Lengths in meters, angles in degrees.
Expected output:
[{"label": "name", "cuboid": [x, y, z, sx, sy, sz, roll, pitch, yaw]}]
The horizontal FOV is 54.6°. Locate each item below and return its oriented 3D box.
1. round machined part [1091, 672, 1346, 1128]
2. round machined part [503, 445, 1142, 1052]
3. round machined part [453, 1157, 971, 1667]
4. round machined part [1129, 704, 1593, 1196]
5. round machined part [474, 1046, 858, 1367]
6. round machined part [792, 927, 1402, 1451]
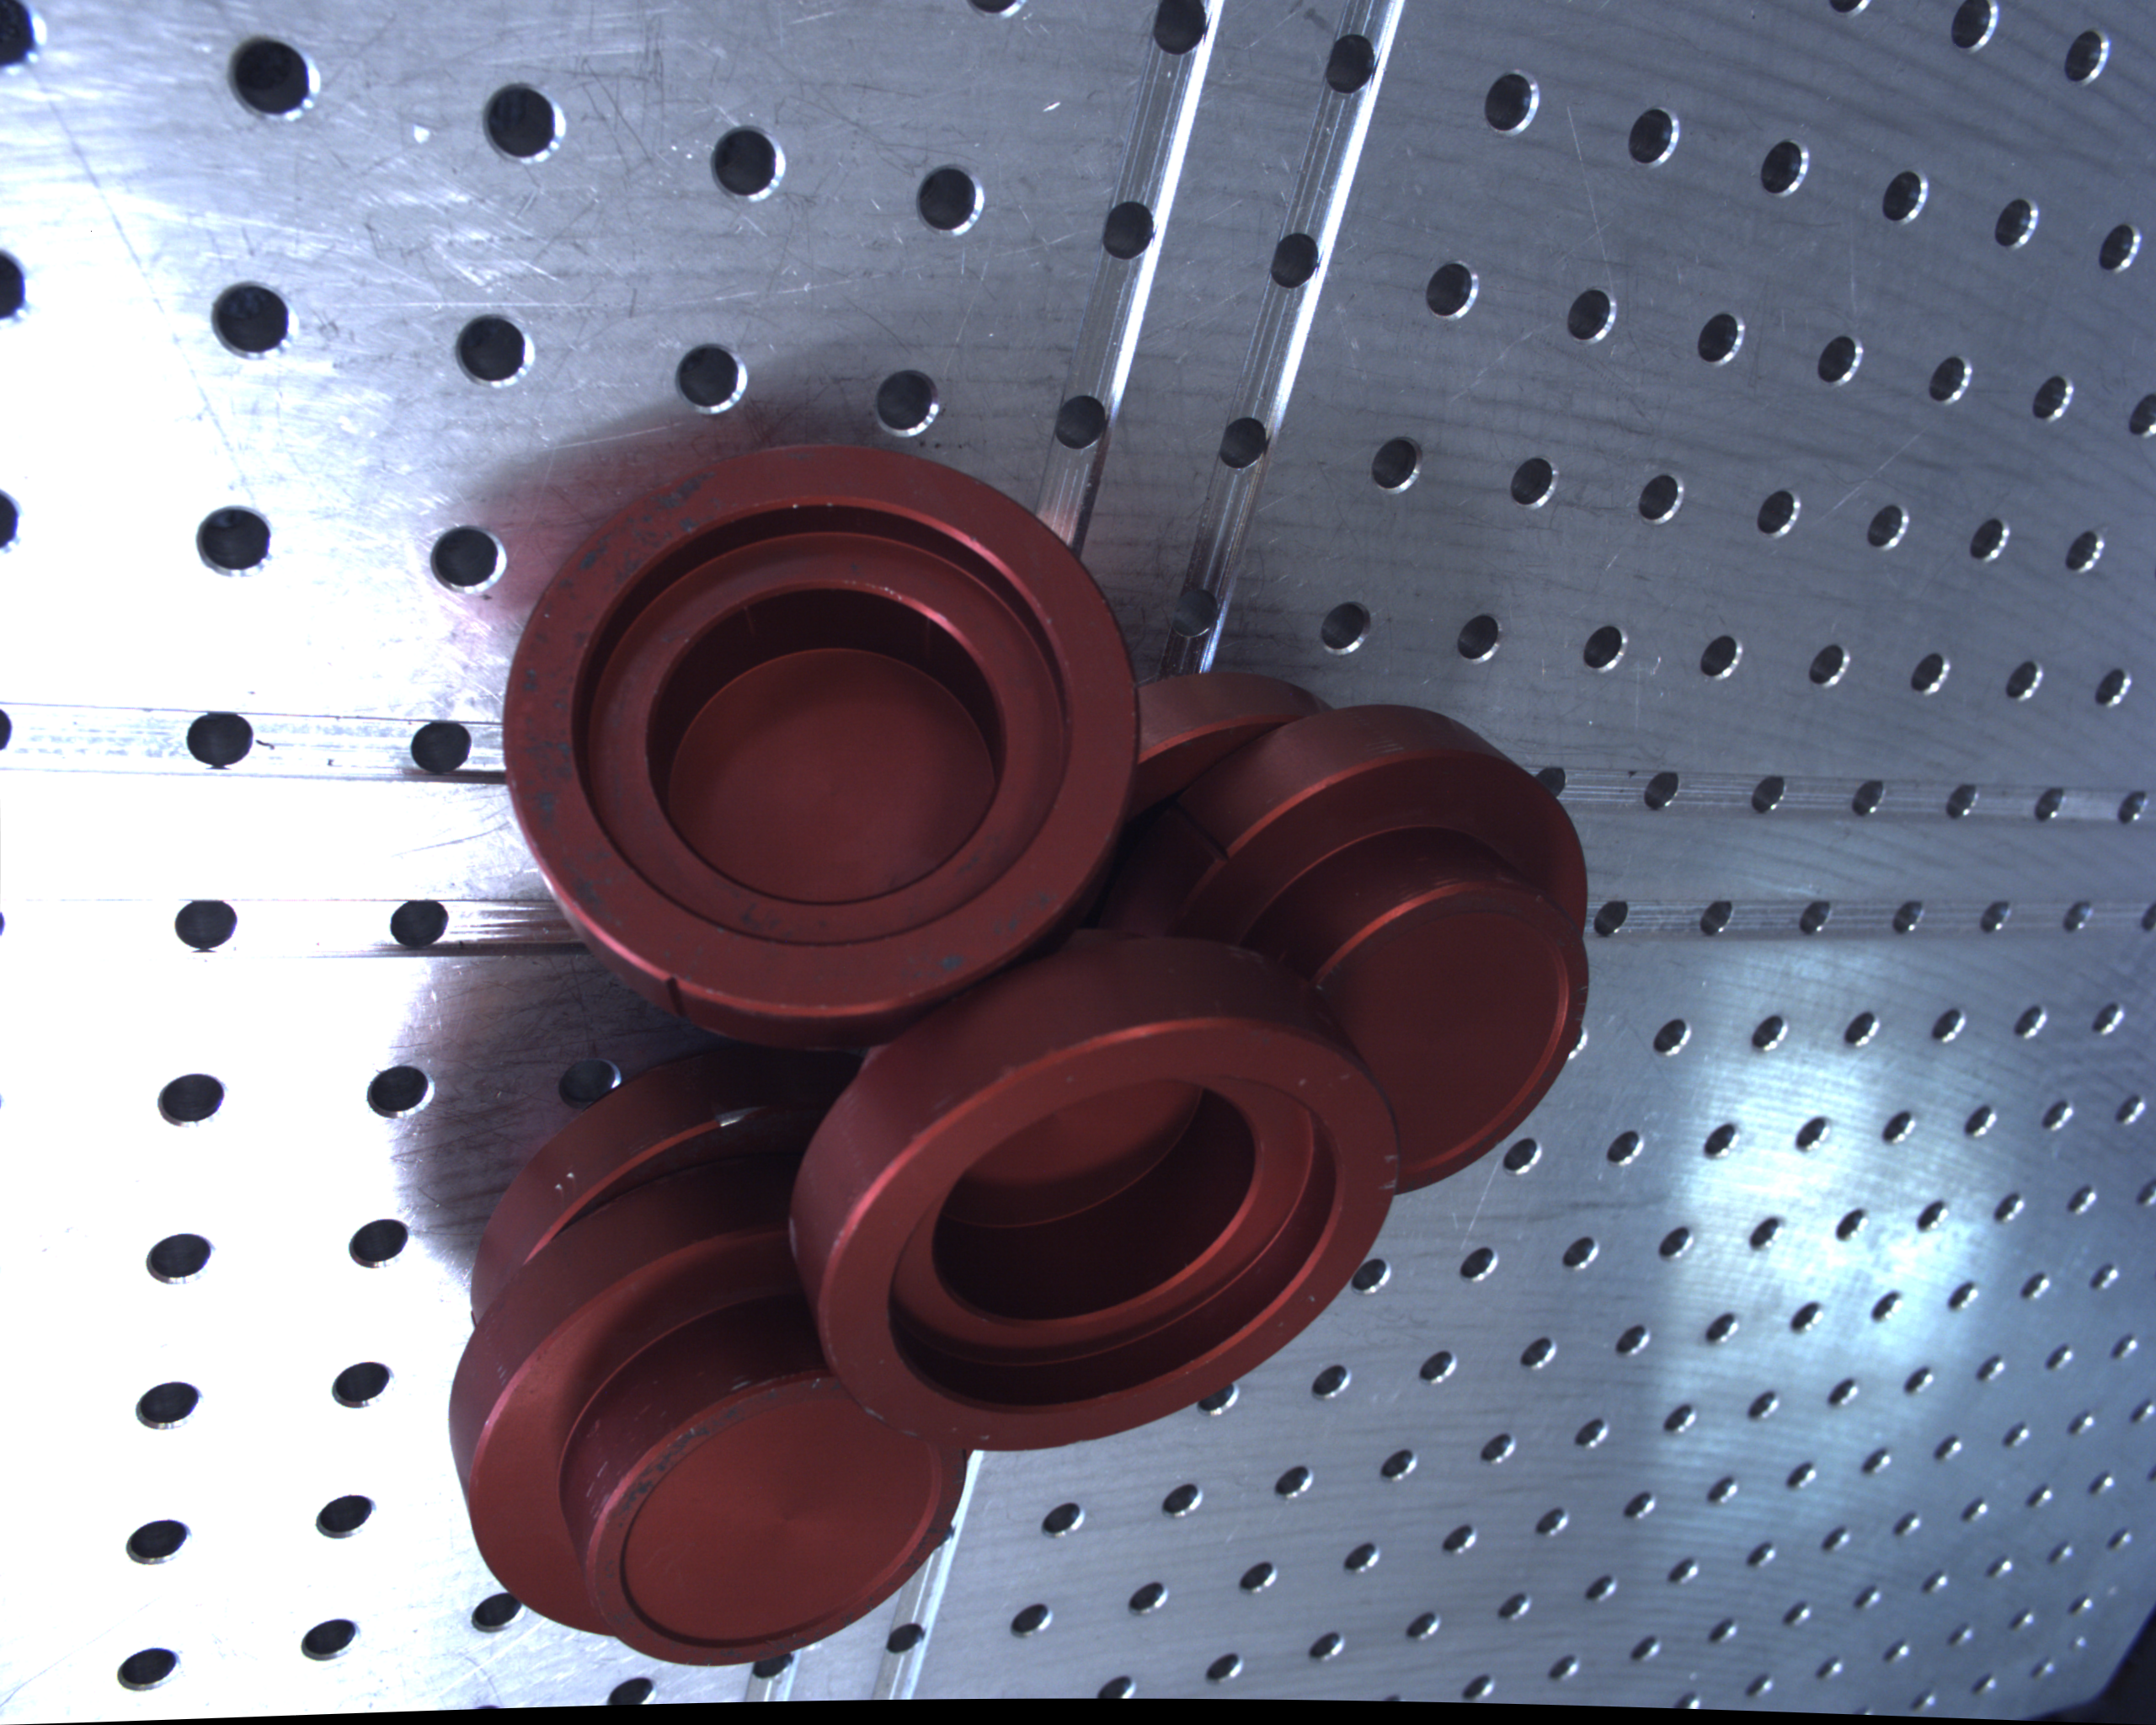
[{"label": "round machined part", "cuboid": [0.026, 0.017, 0.397, 0.099, 0.042, 0.097, -14, 124, -21]}, {"label": "round machined part", "cuboid": [-0.040, -0.016, 0.343, 0.099, 0.098, 0.042, -25, 163, -13]}, {"label": "round machined part", "cuboid": [-0.059, 0.105, 0.377, 0.099, 0.042, 0.097, -14, 124, -21]}, {"label": "round machined part", "cuboid": [0.055, 0.023, 0.388, 0.099, 0.042, 0.097, -14, 124, -21]}, {"label": "round machined part", "cuboid": [-0.059, 0.086, 0.393, 0.099, 0.042, 0.097, -14, 124, -21]}, {"label": "round machined part", "cuboid": [0.000, 0.050, 0.347, 0.099, 0.042, 0.097, -13, 131, -15]}]
